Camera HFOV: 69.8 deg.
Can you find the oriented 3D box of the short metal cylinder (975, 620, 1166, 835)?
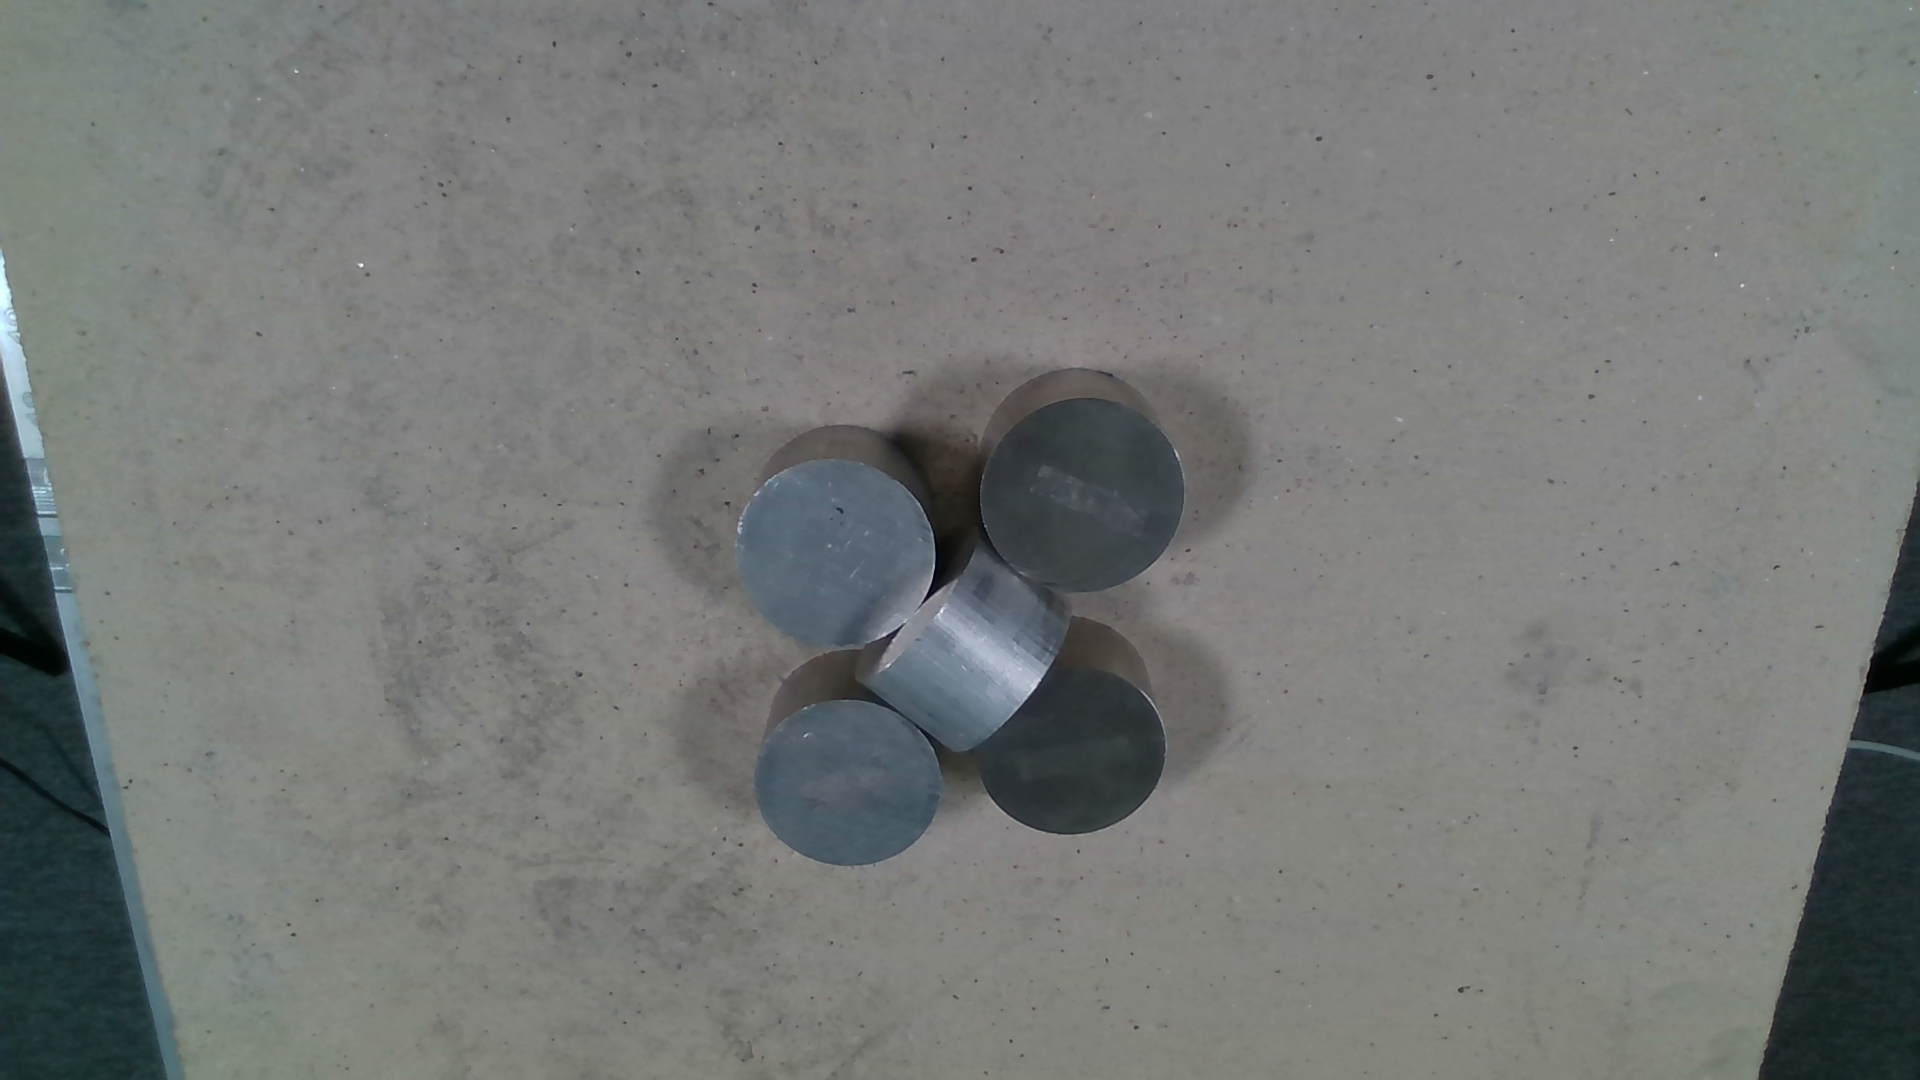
[{"bbox_3d":[0.046,0.080,0.599,0.080,0.050,0.080,0,110,0],"label":"short metal cylinder"}]

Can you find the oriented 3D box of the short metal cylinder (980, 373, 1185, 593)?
[{"bbox_3d":[0.048,-0.025,0.561,0.080,0.050,0.080,0,110,0],"label":"short metal cylinder"}]

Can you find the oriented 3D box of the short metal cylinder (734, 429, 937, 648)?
[{"bbox_3d":[-0.050,-0.002,0.569,0.080,0.050,0.080,0,110,0],"label":"short metal cylinder"}]

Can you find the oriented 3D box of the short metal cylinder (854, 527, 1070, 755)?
[{"bbox_3d":[0.001,0.042,0.571,0.050,0.080,0.080,38,106,-13],"label":"short metal cylinder"}]

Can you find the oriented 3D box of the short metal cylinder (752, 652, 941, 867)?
[{"bbox_3d":[-0.048,0.096,0.606,0.080,0.050,0.080,0,110,0],"label":"short metal cylinder"}]
